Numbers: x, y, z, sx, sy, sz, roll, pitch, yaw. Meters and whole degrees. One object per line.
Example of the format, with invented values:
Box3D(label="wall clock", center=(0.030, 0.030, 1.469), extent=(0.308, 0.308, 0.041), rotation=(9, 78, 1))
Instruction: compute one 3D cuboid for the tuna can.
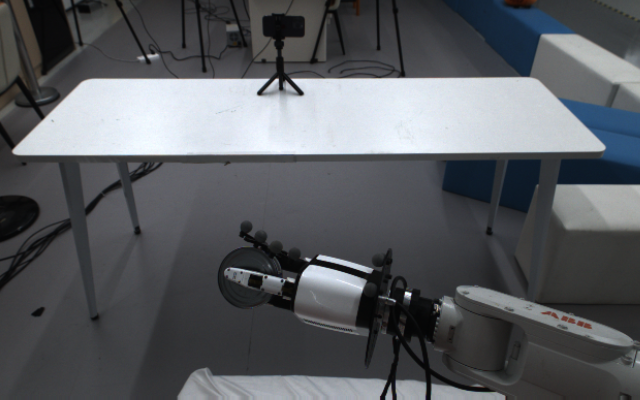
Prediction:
Box3D(label="tuna can", center=(-0.095, 0.108, 0.677), extent=(0.085, 0.085, 0.034), rotation=(10, -4, 11))
